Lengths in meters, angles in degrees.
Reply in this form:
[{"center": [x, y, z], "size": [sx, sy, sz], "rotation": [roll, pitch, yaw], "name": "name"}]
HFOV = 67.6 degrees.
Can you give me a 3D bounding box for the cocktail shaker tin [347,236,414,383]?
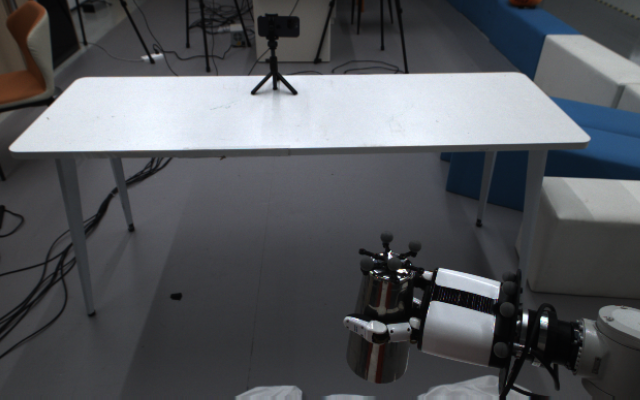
[{"center": [0.090, 0.159, 0.674], "size": [0.093, 0.170, 0.093], "rotation": [2, 30, -1], "name": "cocktail shaker tin"}]
